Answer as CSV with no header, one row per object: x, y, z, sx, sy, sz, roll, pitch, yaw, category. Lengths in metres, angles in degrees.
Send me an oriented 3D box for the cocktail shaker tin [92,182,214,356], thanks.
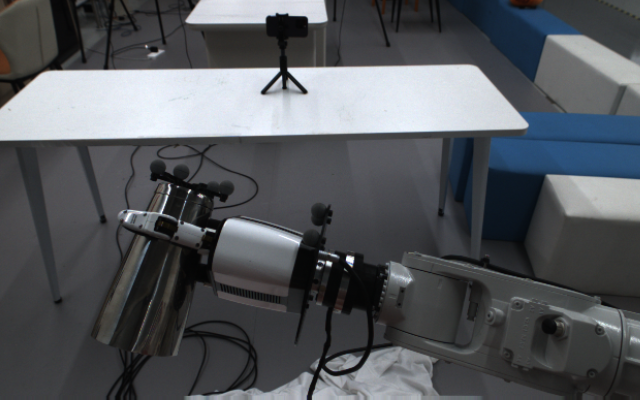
-0.170,0.071,0.530,0.093,0.093,0.170,13,79,15,cocktail shaker tin
